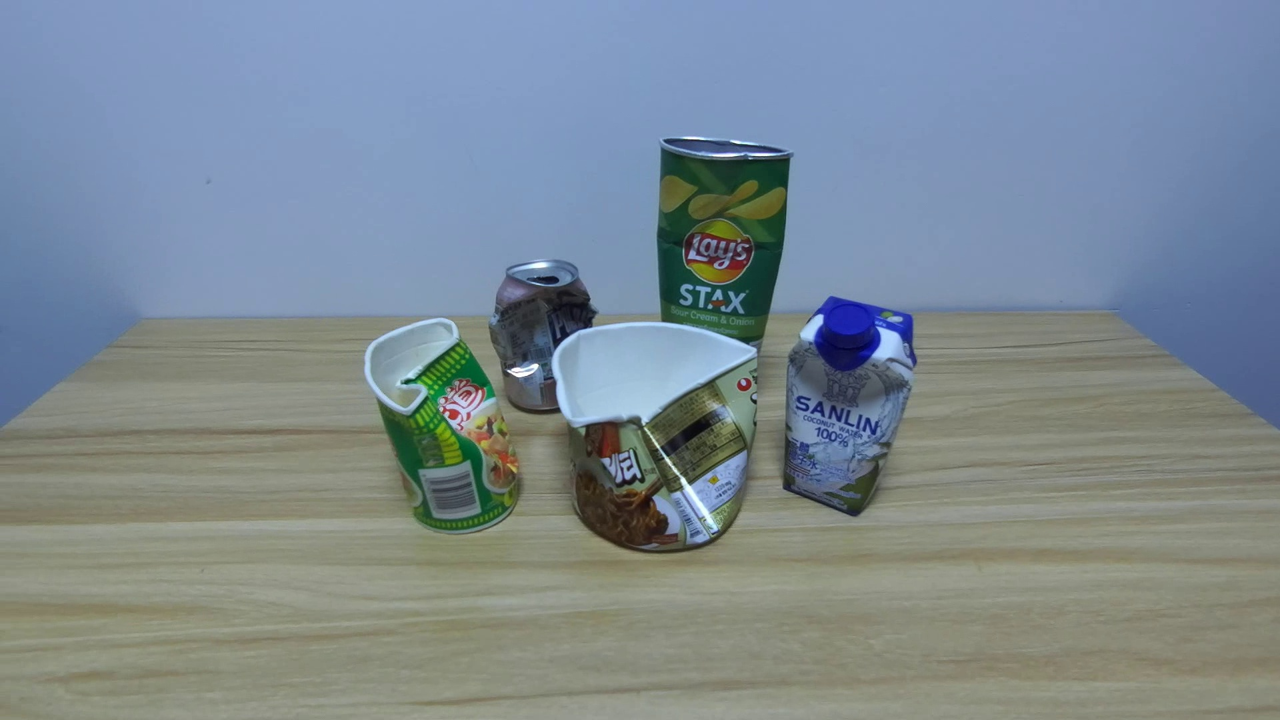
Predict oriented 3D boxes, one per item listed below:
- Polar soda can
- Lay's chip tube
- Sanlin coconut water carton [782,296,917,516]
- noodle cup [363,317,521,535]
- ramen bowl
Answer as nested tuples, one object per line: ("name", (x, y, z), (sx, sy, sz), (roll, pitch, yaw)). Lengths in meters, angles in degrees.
("Polar soda can", (-0.071, -0.019, 0.547), (0.070, 0.114, 0.074), (10, 33, 8))
("Lay's chip tube", (0.056, -0.056, 0.518), (0.075, 0.199, 0.068), (-9, 31, -17))
("Sanlin coconut water carton", (0.127, 0.025, 0.440), (0.077, 0.142, 0.058), (18, 39, 28))
("noodle cup", (-0.117, 0.042, 0.437), (0.075, 0.122, 0.083), (12, 40, 33))
("ramen bowl", (0.012, 0.043, 0.451), (0.137, 0.098, 0.137), (0, 29, 0))
